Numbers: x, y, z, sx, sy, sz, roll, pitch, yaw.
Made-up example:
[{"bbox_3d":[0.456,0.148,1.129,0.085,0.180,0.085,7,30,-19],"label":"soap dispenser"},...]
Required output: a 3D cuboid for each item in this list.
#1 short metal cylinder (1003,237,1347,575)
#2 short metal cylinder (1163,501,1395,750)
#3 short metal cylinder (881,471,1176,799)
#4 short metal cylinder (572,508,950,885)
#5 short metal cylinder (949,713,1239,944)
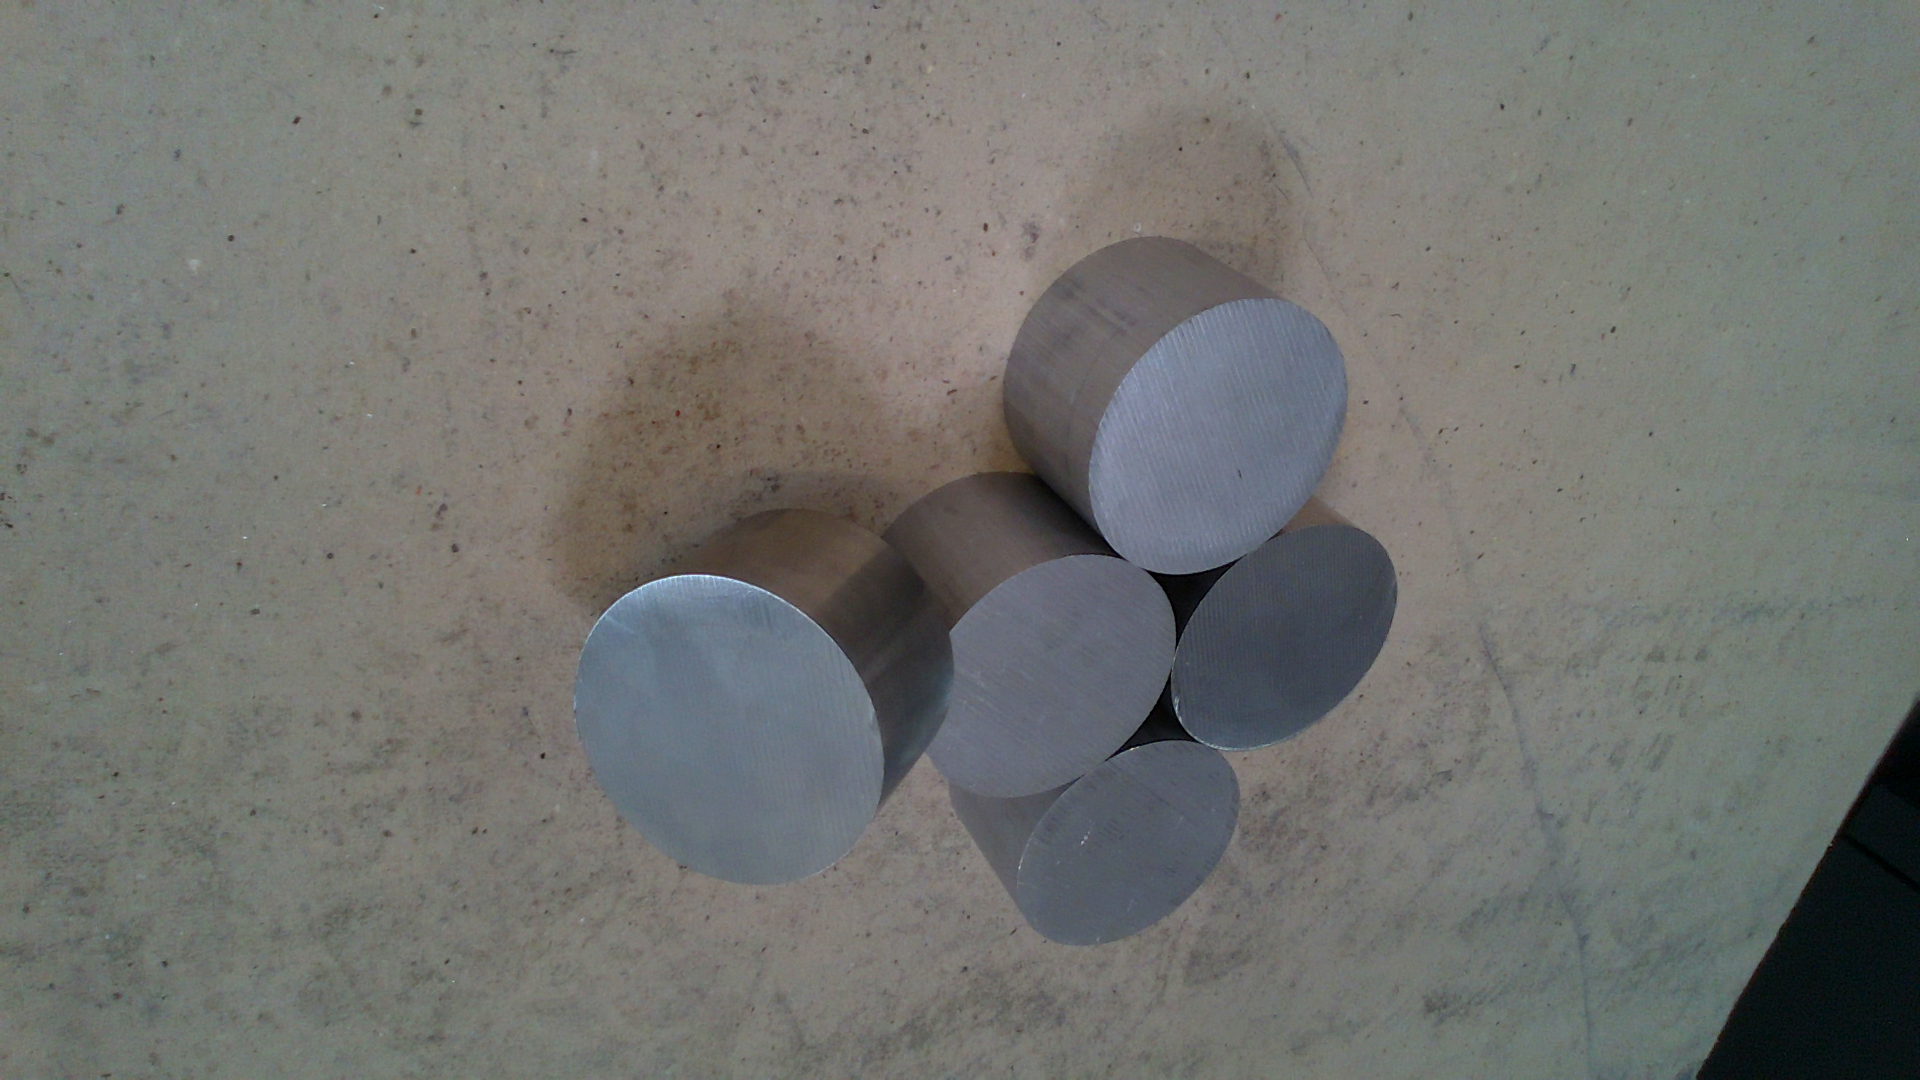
[{"bbox_3d":[0.059,-0.037,0.382,0.080,0.050,0.080,-14,124,-21],"label":"short metal cylinder"},{"bbox_3d":[0.088,0.018,0.432,0.080,0.050,0.080,-14,124,-21],"label":"short metal cylinder"},{"bbox_3d":[0.015,0.027,0.398,0.080,0.050,0.080,-14,124,-21],"label":"short metal cylinder"},{"bbox_3d":[-0.048,0.038,0.344,0.080,0.050,0.080,6,111,17],"label":"short metal cylinder"},{"bbox_3d":[0.043,0.083,0.447,0.080,0.050,0.080,-14,124,-21],"label":"short metal cylinder"}]
